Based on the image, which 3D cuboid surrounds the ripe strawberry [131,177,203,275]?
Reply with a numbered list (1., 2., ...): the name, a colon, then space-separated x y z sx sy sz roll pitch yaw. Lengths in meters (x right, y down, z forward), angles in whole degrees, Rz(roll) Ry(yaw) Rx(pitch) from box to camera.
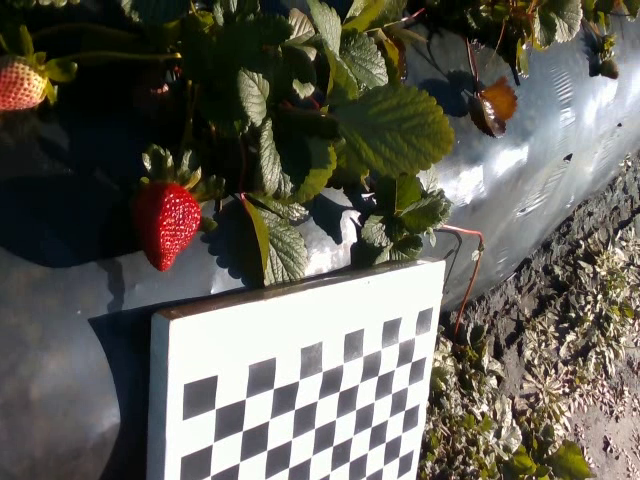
1. ripe strawberry: -0.090 -0.007 0.350 0.058 0.062 0.066 -34 -46 2
